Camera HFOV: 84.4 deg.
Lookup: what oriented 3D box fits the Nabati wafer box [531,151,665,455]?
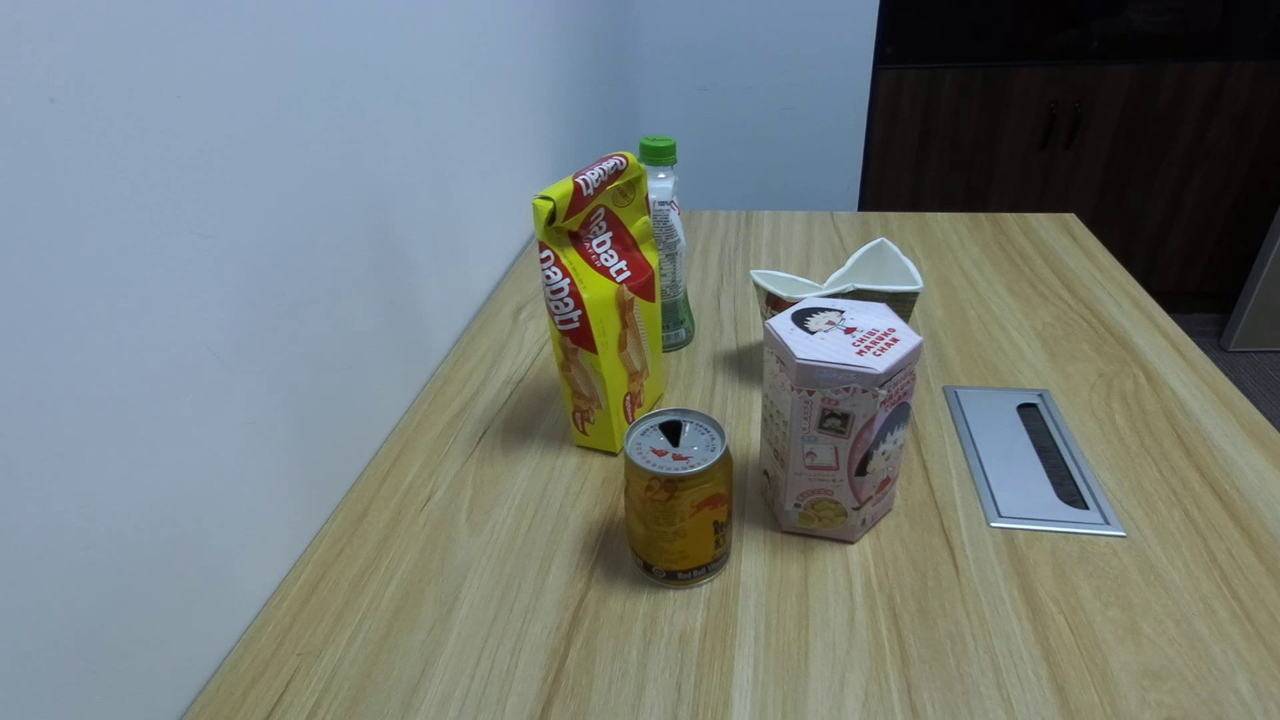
[{"bbox_3d":[-0.023,-0.038,0.519,0.042,0.205,0.113,11,37,25],"label":"Nabati wafer box"}]

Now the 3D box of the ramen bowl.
[{"bbox_3d":[0.159,-0.040,0.602,0.128,0.093,0.111,-5,34,-3],"label":"ramen bowl"}]

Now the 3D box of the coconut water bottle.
[{"bbox_3d":[0.016,-0.102,0.628,0.069,0.187,0.069,-3,29,2],"label":"coconut water bottle"}]

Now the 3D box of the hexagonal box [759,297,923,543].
[{"bbox_3d":[0.123,0.038,0.445,0.091,0.136,0.083,-30,40,-34],"label":"hexagonal box"}]
